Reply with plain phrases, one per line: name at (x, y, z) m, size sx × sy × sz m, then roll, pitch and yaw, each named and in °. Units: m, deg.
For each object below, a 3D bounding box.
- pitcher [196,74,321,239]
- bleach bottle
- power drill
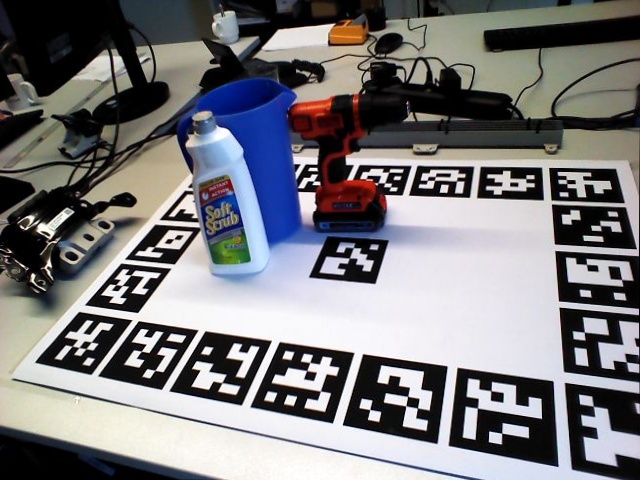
pitcher at (-0.082, -0.120, 0.809) m, size 0.189 × 0.243 × 0.133 m, roll -15°, pitch 39°, yaw -2°
bleach bottle at (-0.123, -0.072, 0.727) m, size 0.103 × 0.251 × 0.067 m, roll -3°, pitch 39°, yaw 13°
power drill at (0.084, -0.118, 0.774) m, size 0.185 × 0.187 × 0.057 m, roll 3°, pitch 43°, yaw 11°
